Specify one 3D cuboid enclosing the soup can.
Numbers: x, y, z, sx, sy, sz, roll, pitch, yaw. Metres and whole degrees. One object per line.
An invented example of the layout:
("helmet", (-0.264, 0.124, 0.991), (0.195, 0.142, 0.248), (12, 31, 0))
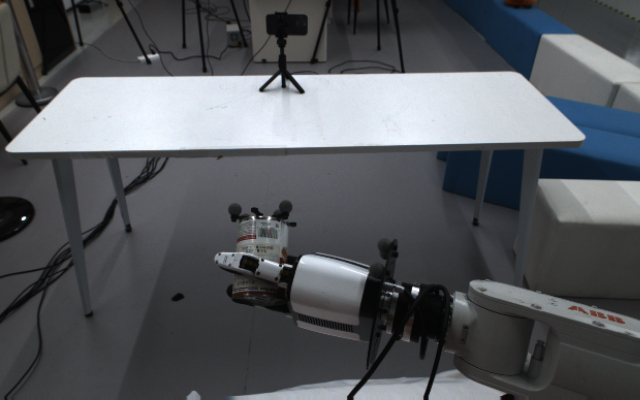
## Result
("soup can", (-0.073, 0.080, 0.615), (0.067, 0.067, 0.101), (1, 69, -1))
